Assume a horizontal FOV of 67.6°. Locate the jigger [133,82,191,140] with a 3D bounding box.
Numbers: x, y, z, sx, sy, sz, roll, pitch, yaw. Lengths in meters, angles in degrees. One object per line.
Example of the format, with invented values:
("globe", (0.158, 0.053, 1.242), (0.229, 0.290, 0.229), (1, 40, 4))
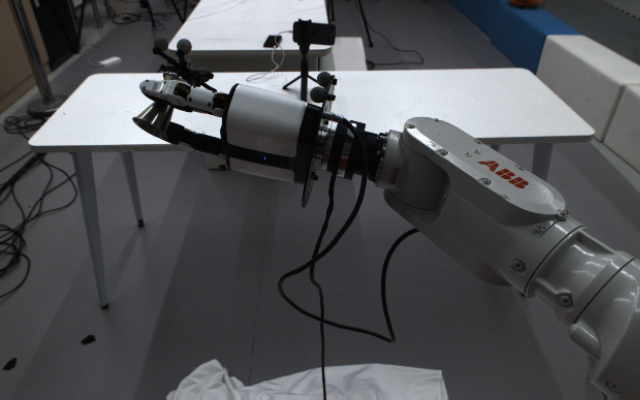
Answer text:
("jigger", (-0.185, -0.114, 0.572), (0.043, 0.043, 0.071), (19, 73, 23))
